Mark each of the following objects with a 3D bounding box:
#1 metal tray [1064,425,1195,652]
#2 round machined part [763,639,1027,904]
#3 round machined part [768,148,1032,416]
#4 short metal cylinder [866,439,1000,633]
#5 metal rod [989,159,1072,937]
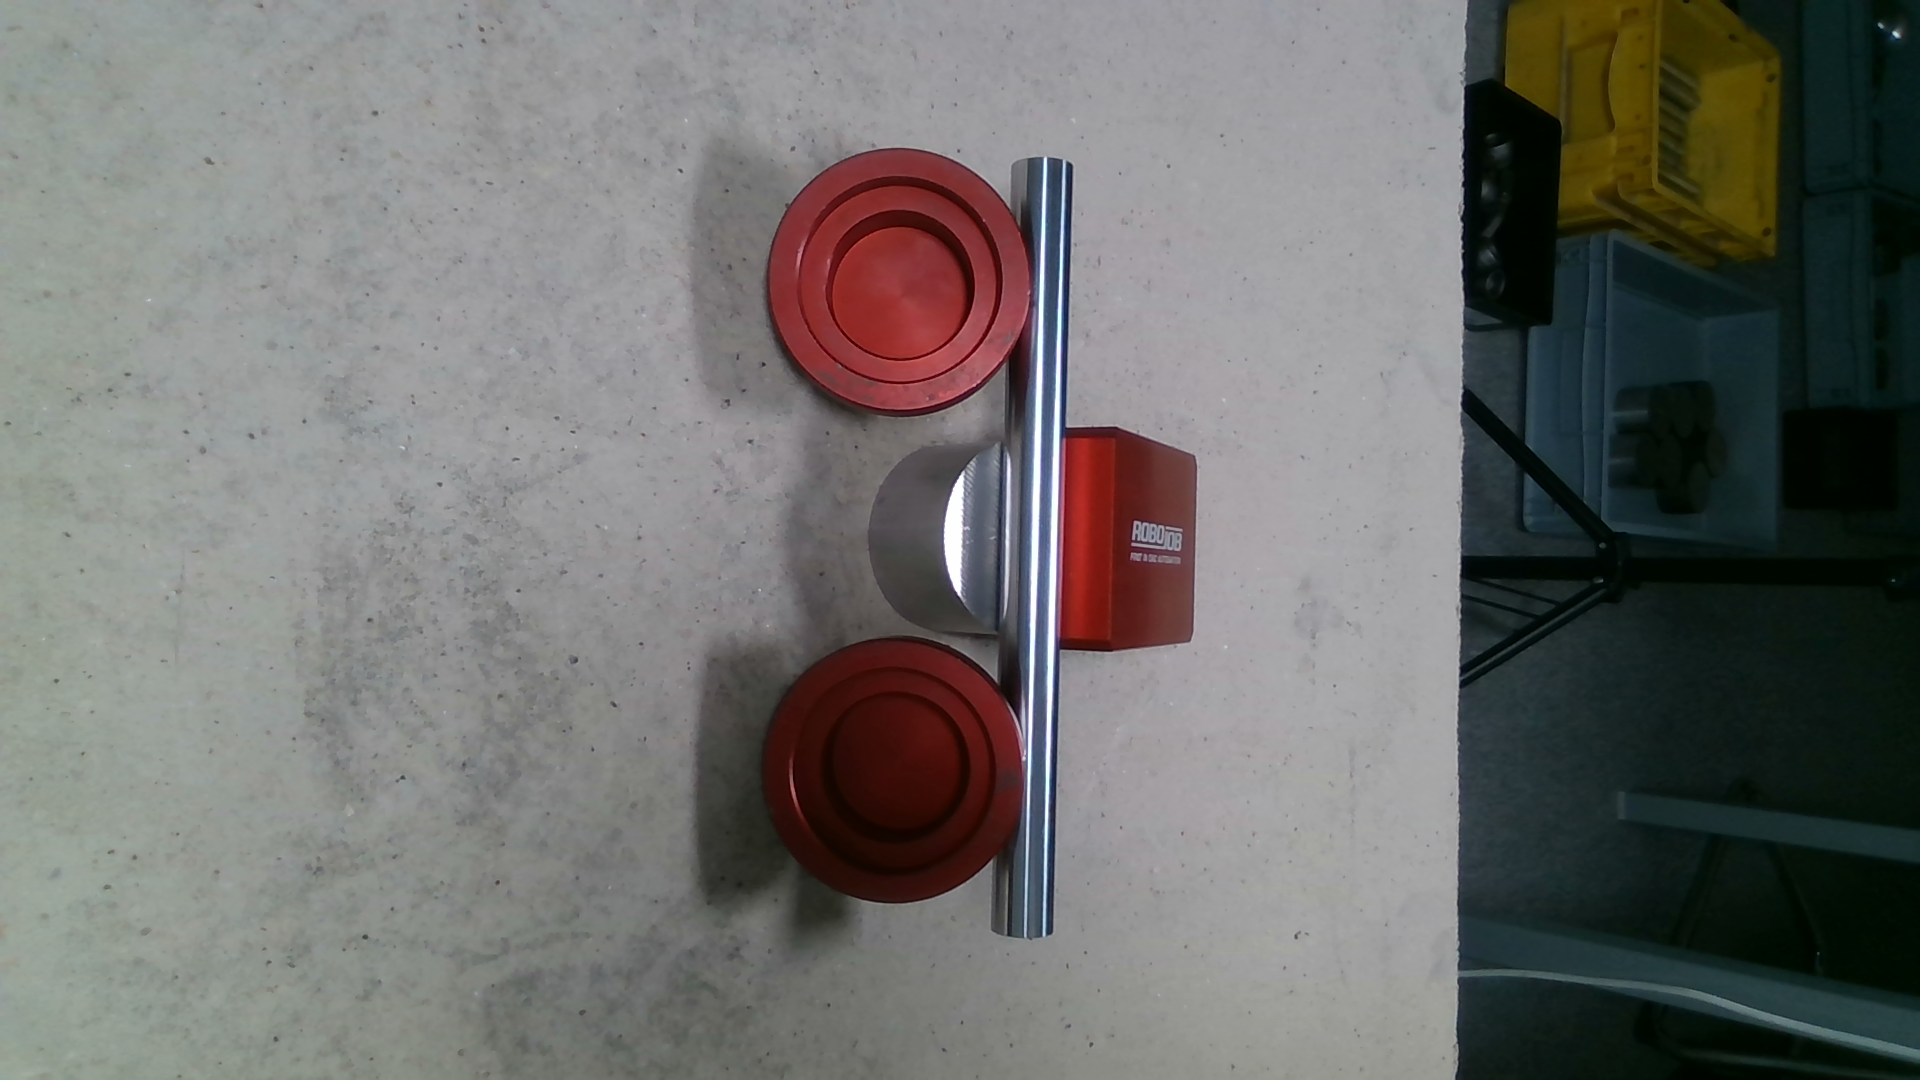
[{"bbox_3d":[0.073,0.001,0.607,0.130,0.030,0.090,5,87,-66],"label":"metal tray"},{"bbox_3d":[-0.024,0.086,0.530,0.098,0.042,0.098,0,90,2],"label":"round machined part"},{"bbox_3d":[-0.023,-0.097,0.532,0.098,0.042,0.098,0,91,-2],"label":"round machined part"},{"bbox_3d":[0.008,-0.002,0.574,0.080,0.050,0.080,0,90,-40],"label":"short metal cylinder"},{"bbox_3d":[0.028,0.002,0.542,0.025,0.025,0.300,3,88,-40],"label":"metal rod"}]
